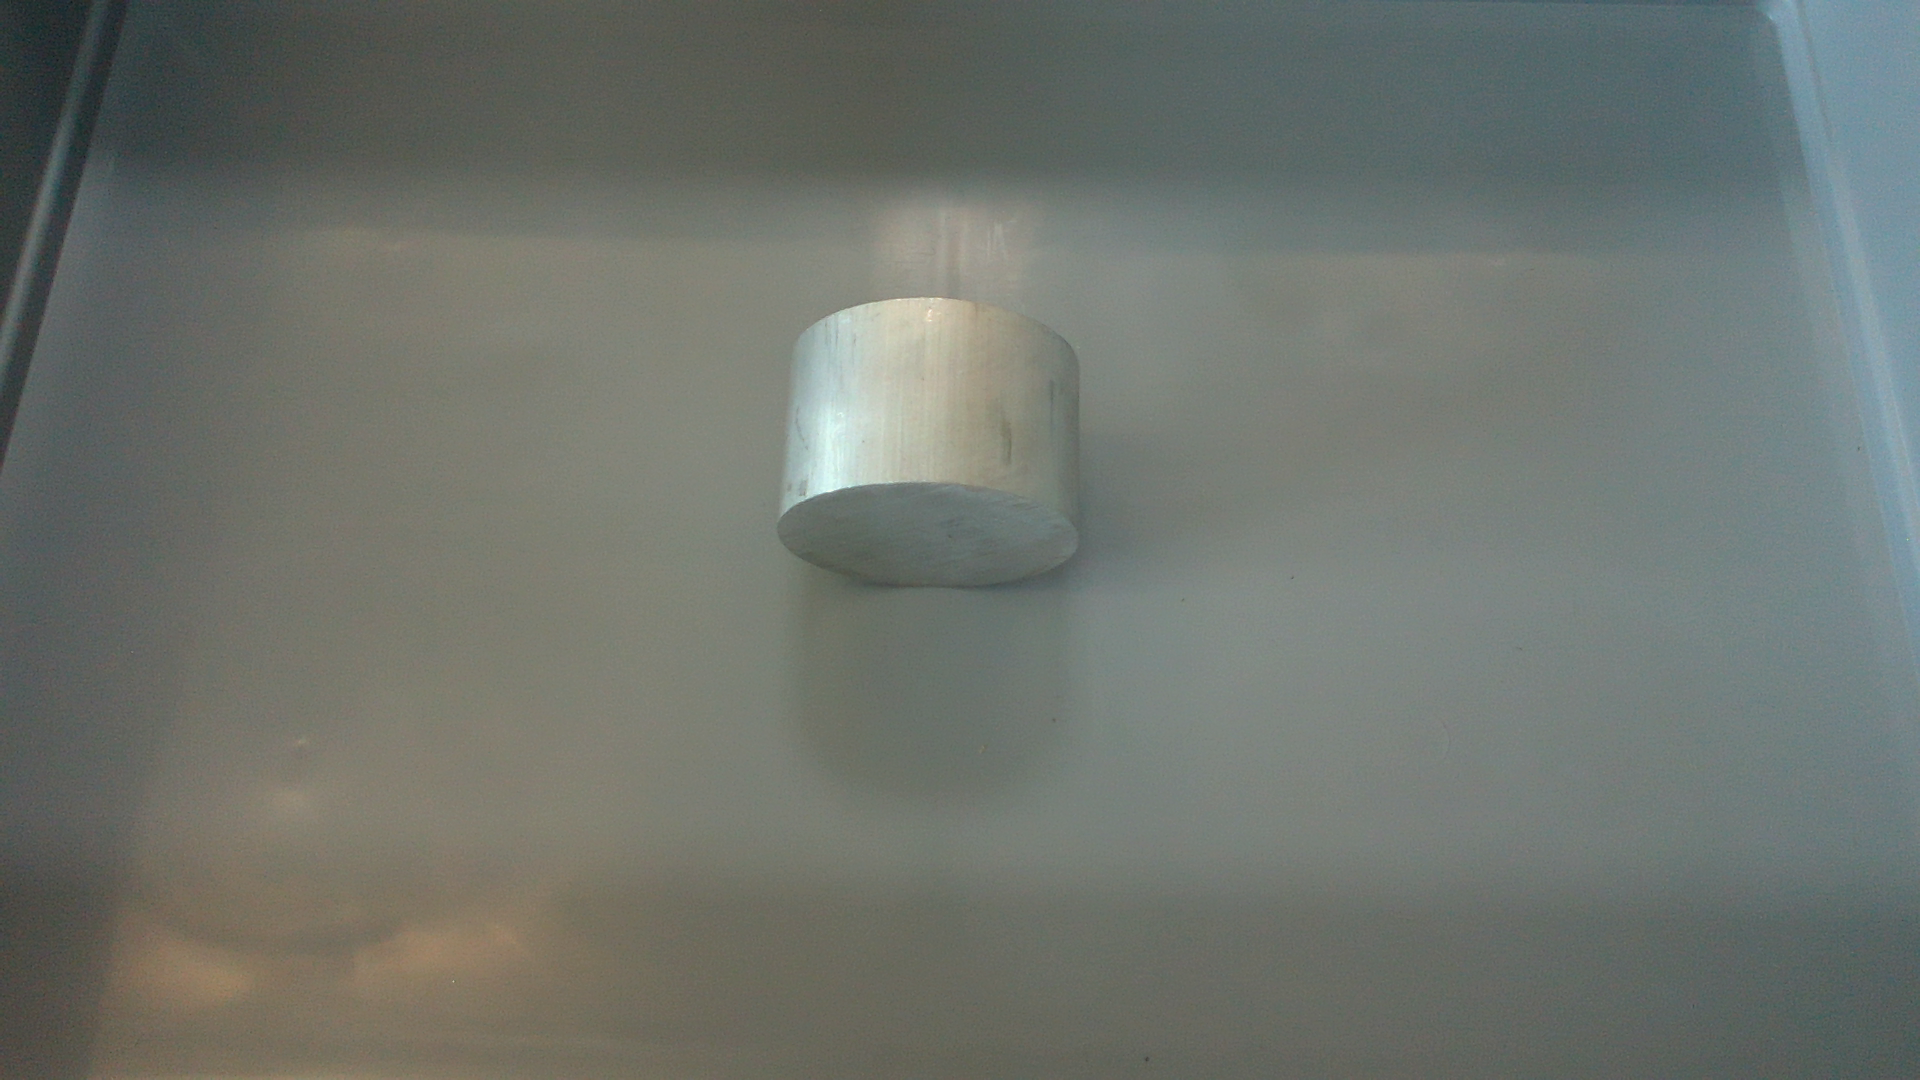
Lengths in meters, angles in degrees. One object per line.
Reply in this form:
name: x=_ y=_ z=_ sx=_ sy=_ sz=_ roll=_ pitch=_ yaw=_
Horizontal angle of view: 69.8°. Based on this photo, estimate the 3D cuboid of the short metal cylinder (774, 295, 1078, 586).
short metal cylinder: x=-0.008 y=-0.024 z=0.371 sx=0.080 sy=0.080 sz=0.050 roll=2 pitch=70 yaw=1
